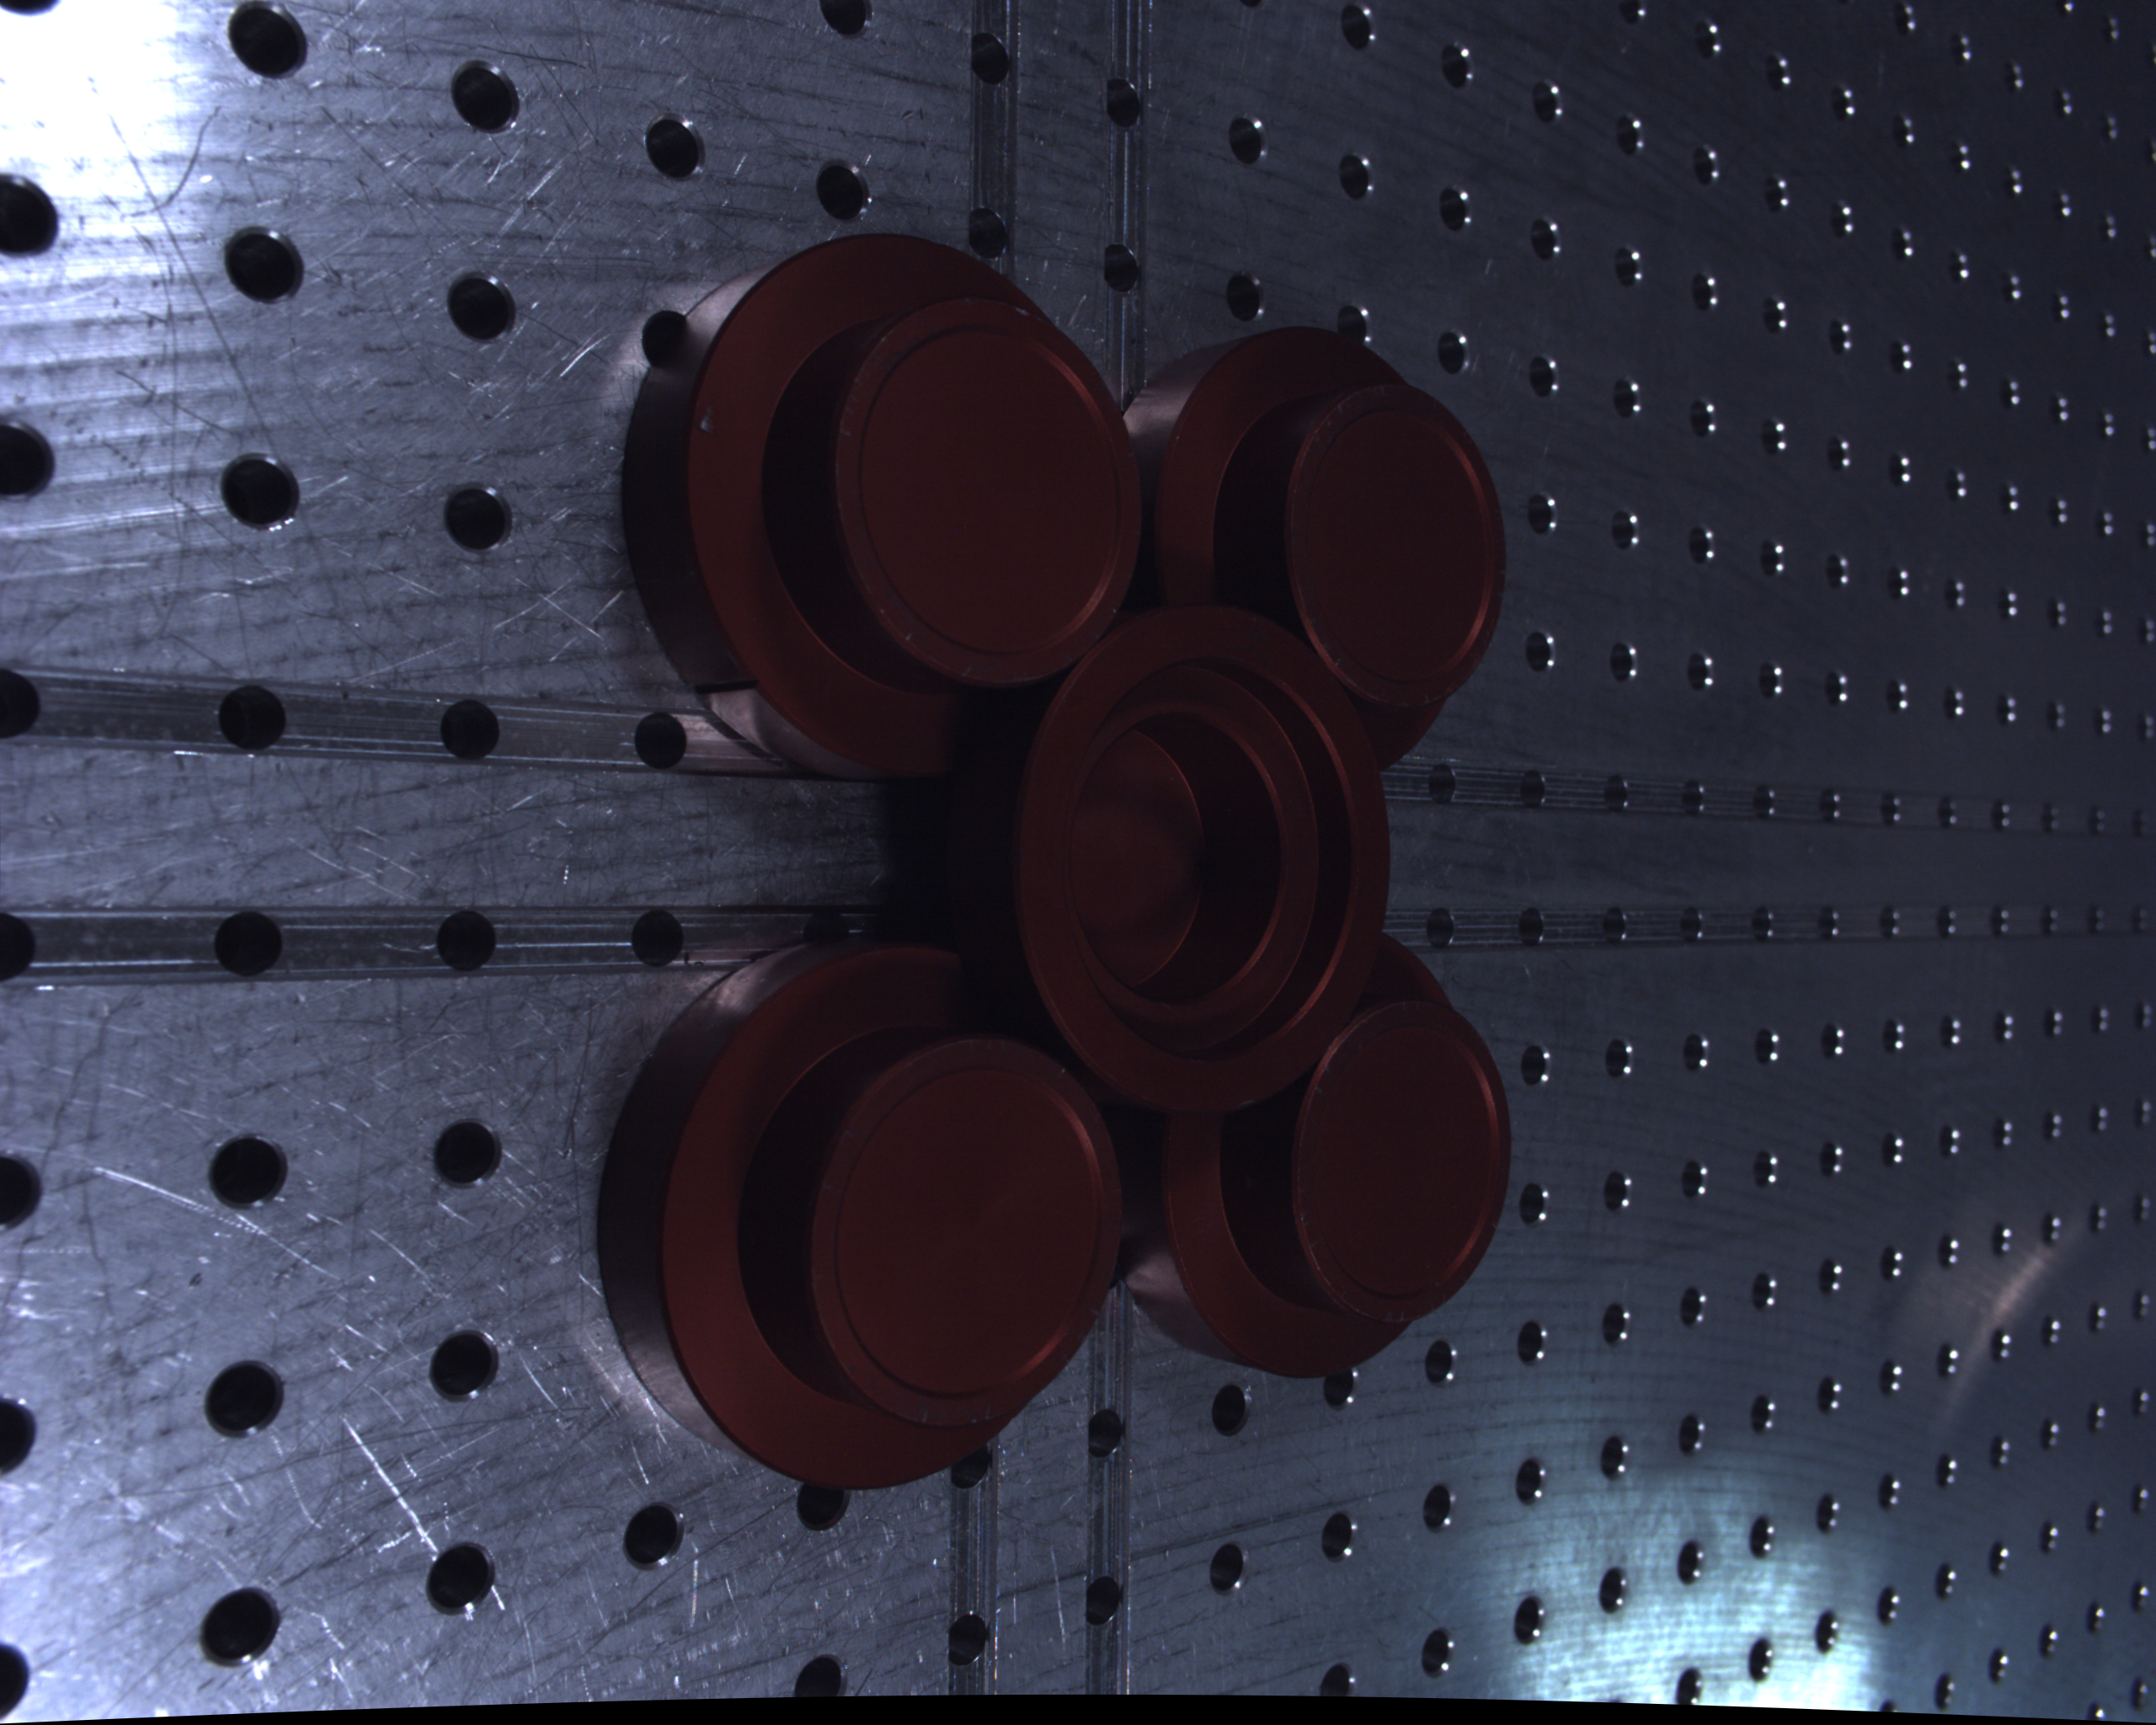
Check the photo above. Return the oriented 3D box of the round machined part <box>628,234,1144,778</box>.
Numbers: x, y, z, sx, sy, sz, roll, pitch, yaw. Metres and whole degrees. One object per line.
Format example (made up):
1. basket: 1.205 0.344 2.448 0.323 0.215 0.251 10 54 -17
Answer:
1. round machined part: -0.027 -0.064 0.376 0.099 0.042 0.097 0 90 -40

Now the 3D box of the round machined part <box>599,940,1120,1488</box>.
1. round machined part: -0.031 0.063 0.374 0.099 0.042 0.097 0 90 -40

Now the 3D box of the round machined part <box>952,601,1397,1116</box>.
1. round machined part: 0.015 -0.001 0.410 0.099 0.042 0.097 0 90 -40

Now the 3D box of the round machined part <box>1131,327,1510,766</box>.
1. round machined part: 0.054 -0.065 0.445 0.099 0.042 0.097 0 90 -40

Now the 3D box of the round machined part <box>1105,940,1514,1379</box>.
1. round machined part: 0.055 0.061 0.446 0.099 0.042 0.097 0 90 -40
